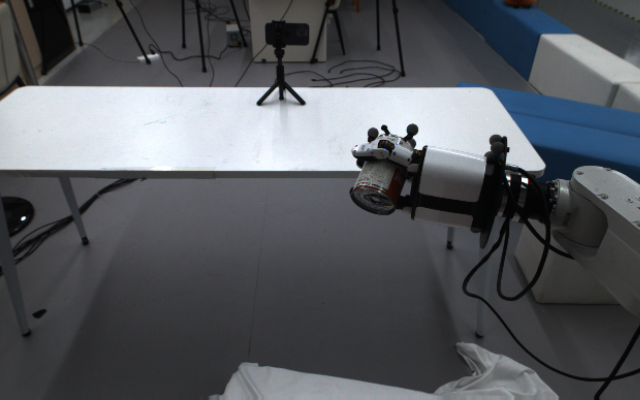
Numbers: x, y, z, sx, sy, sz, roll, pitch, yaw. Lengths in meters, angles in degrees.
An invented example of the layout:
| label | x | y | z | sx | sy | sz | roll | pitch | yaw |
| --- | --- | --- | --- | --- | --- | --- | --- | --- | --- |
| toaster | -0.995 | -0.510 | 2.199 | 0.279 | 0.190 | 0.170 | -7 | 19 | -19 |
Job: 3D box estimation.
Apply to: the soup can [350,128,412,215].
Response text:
| label | x | y | z | sx | sy | sz | roll | pitch | yaw |
| --- | --- | --- | --- | --- | --- | --- | --- | --- | --- |
| soup can | 0.094 | -0.040 | 0.712 | 0.067 | 0.067 | 0.101 | 15 | 62 | 18 |
